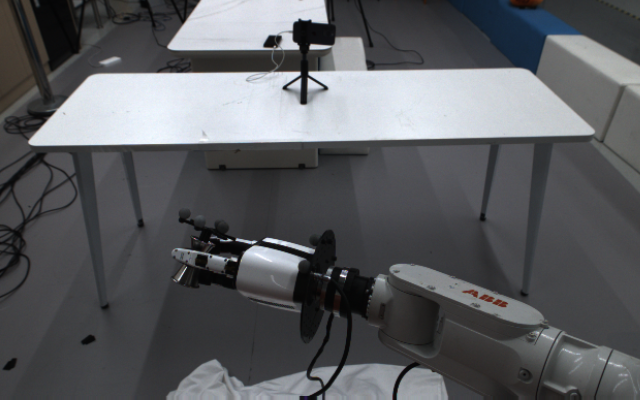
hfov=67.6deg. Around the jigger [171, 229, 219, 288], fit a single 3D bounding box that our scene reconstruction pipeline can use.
[{"bbox_3d":[-0.186,0.089,0.708,0.043,0.071,0.043,24,-2,1],"label":"jigger"}]
